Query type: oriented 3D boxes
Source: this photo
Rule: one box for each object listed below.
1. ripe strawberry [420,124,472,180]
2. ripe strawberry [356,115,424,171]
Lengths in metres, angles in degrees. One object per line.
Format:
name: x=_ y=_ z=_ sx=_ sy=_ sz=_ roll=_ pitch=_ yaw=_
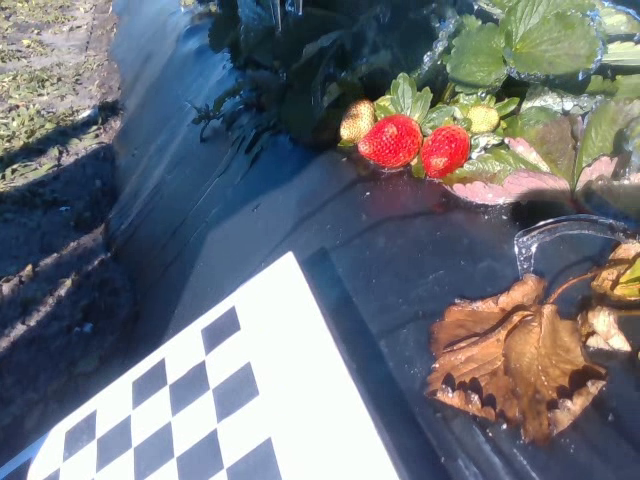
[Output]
ripe strawberry: x=0.079 y=-0.055 z=0.383 sx=0.036 sy=0.030 sz=0.041 roll=-20 pitch=34 yaw=27
ripe strawberry: x=0.041 y=-0.061 z=0.395 sx=0.036 sy=0.040 sz=0.051 roll=2 pitch=14 yaw=44
